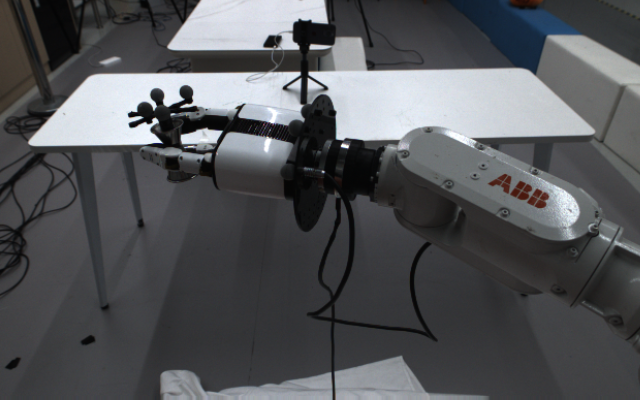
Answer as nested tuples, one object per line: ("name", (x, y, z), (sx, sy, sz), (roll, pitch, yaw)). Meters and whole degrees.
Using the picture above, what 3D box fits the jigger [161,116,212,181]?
("jigger", (-0.177, -0.063, 0.605), (0.043, 0.071, 0.043), (-8, 31, 5))
